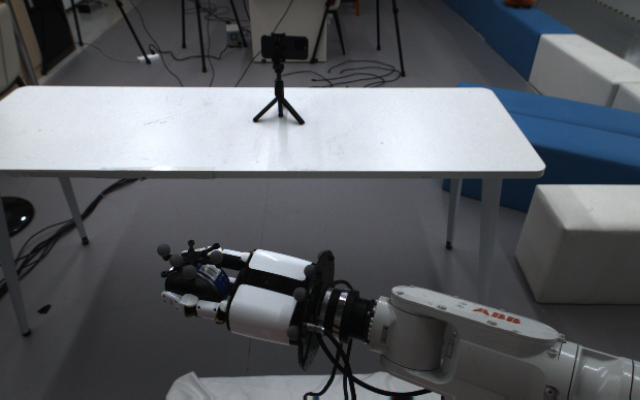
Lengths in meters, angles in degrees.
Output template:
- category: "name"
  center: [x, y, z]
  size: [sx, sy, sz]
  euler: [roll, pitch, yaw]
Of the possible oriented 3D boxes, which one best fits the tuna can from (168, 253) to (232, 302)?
- category: "tuna can"
  center: [-0.167, 0.121, 0.672]
  size: [0.085, 0.085, 0.034]
  euler: [11, 33, 13]
